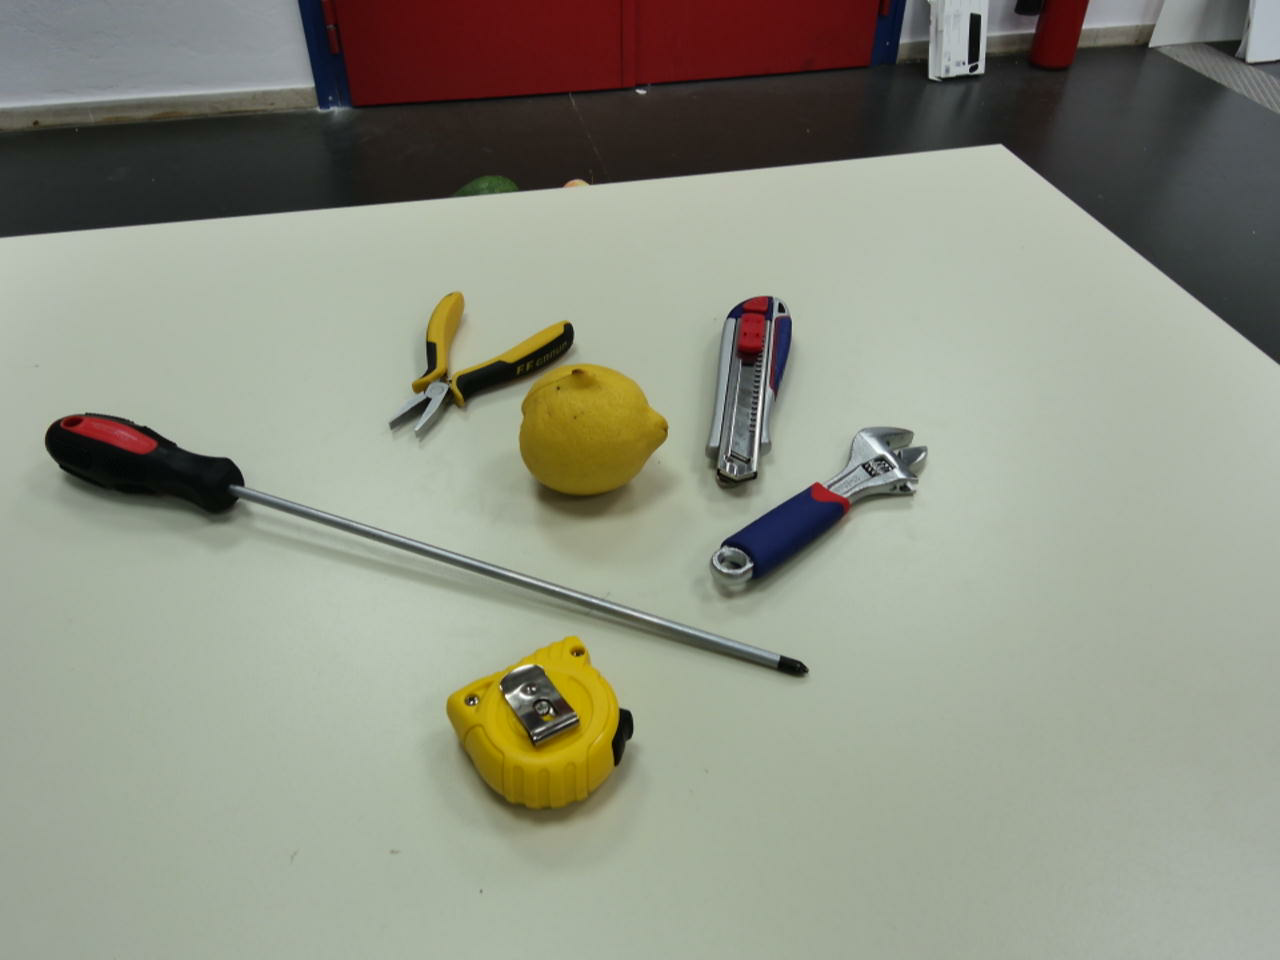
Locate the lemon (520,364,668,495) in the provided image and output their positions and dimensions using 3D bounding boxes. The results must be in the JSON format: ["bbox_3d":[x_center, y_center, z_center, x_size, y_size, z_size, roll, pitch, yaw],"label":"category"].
[{"bbox_3d":[-0.028,-0.029,0.516,0.071,0.071,0.070,32,48,32],"label":"lemon"}]
